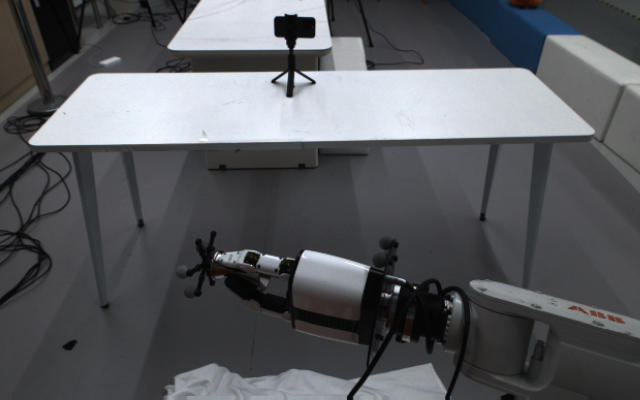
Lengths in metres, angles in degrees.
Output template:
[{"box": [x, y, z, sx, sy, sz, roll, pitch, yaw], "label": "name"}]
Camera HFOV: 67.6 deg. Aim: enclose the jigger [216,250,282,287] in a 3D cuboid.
[{"box": [-0.095, 0.085, 0.622, 0.071, 0.043, 0.043, 8, 35, 15], "label": "jigger"}]
